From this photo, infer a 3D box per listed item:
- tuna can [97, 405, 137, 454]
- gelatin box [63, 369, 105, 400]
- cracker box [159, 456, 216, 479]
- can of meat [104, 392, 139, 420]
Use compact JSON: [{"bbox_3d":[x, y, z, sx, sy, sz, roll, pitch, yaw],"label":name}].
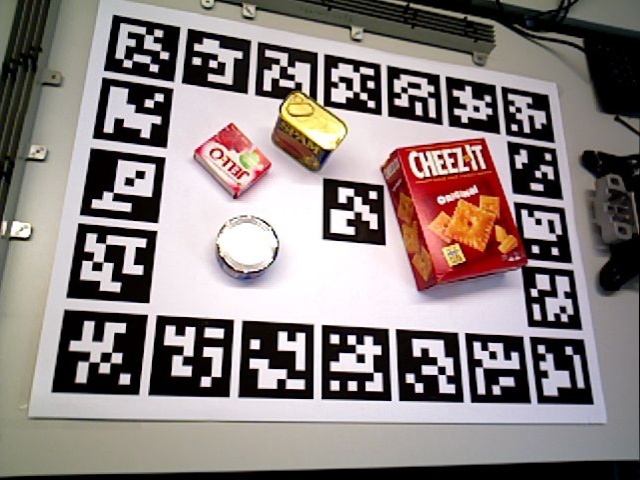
[{"bbox_3d":[-0.336,0.319,0.912,0.085,0.033,0.087,42,-19,15],"label":"tuna can"},{"bbox_3d":[-0.438,0.275,1.010,0.089,0.029,0.075,44,-24,11],"label":"gelatin box"},{"bbox_3d":[-0.231,0.540,1.143,0.214,0.071,0.166,26,-30,38],"label":"cracker box"},{"bbox_3d":[-0.401,0.340,1.109,0.102,0.082,0.059,45,-20,-1],"label":"can of meat"}]
